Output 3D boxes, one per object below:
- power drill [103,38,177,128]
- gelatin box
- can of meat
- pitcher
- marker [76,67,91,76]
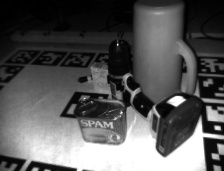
[{"bbox_3d":[0.050,-0.006,0.474,0.058,0.186,0.184,-36,53,-26],"label":"power drill"},{"bbox_3d":[-0.014,-0.033,0.603,0.088,0.074,0.030,12,47,20],"label":"gelatin box"},{"bbox_3d":[-0.025,0.066,0.471,0.101,0.084,0.058,3,39,12],"label":"can of meat"},{"bbox_3d":[0.118,-0.087,0.525,0.134,0.245,0.186,-38,41,-27],"label":"pitcher"},{"bbox_3d":[-0.051,-0.052,0.671,0.121,0.020,0.019,-14,40,-7],"label":"marker"}]
